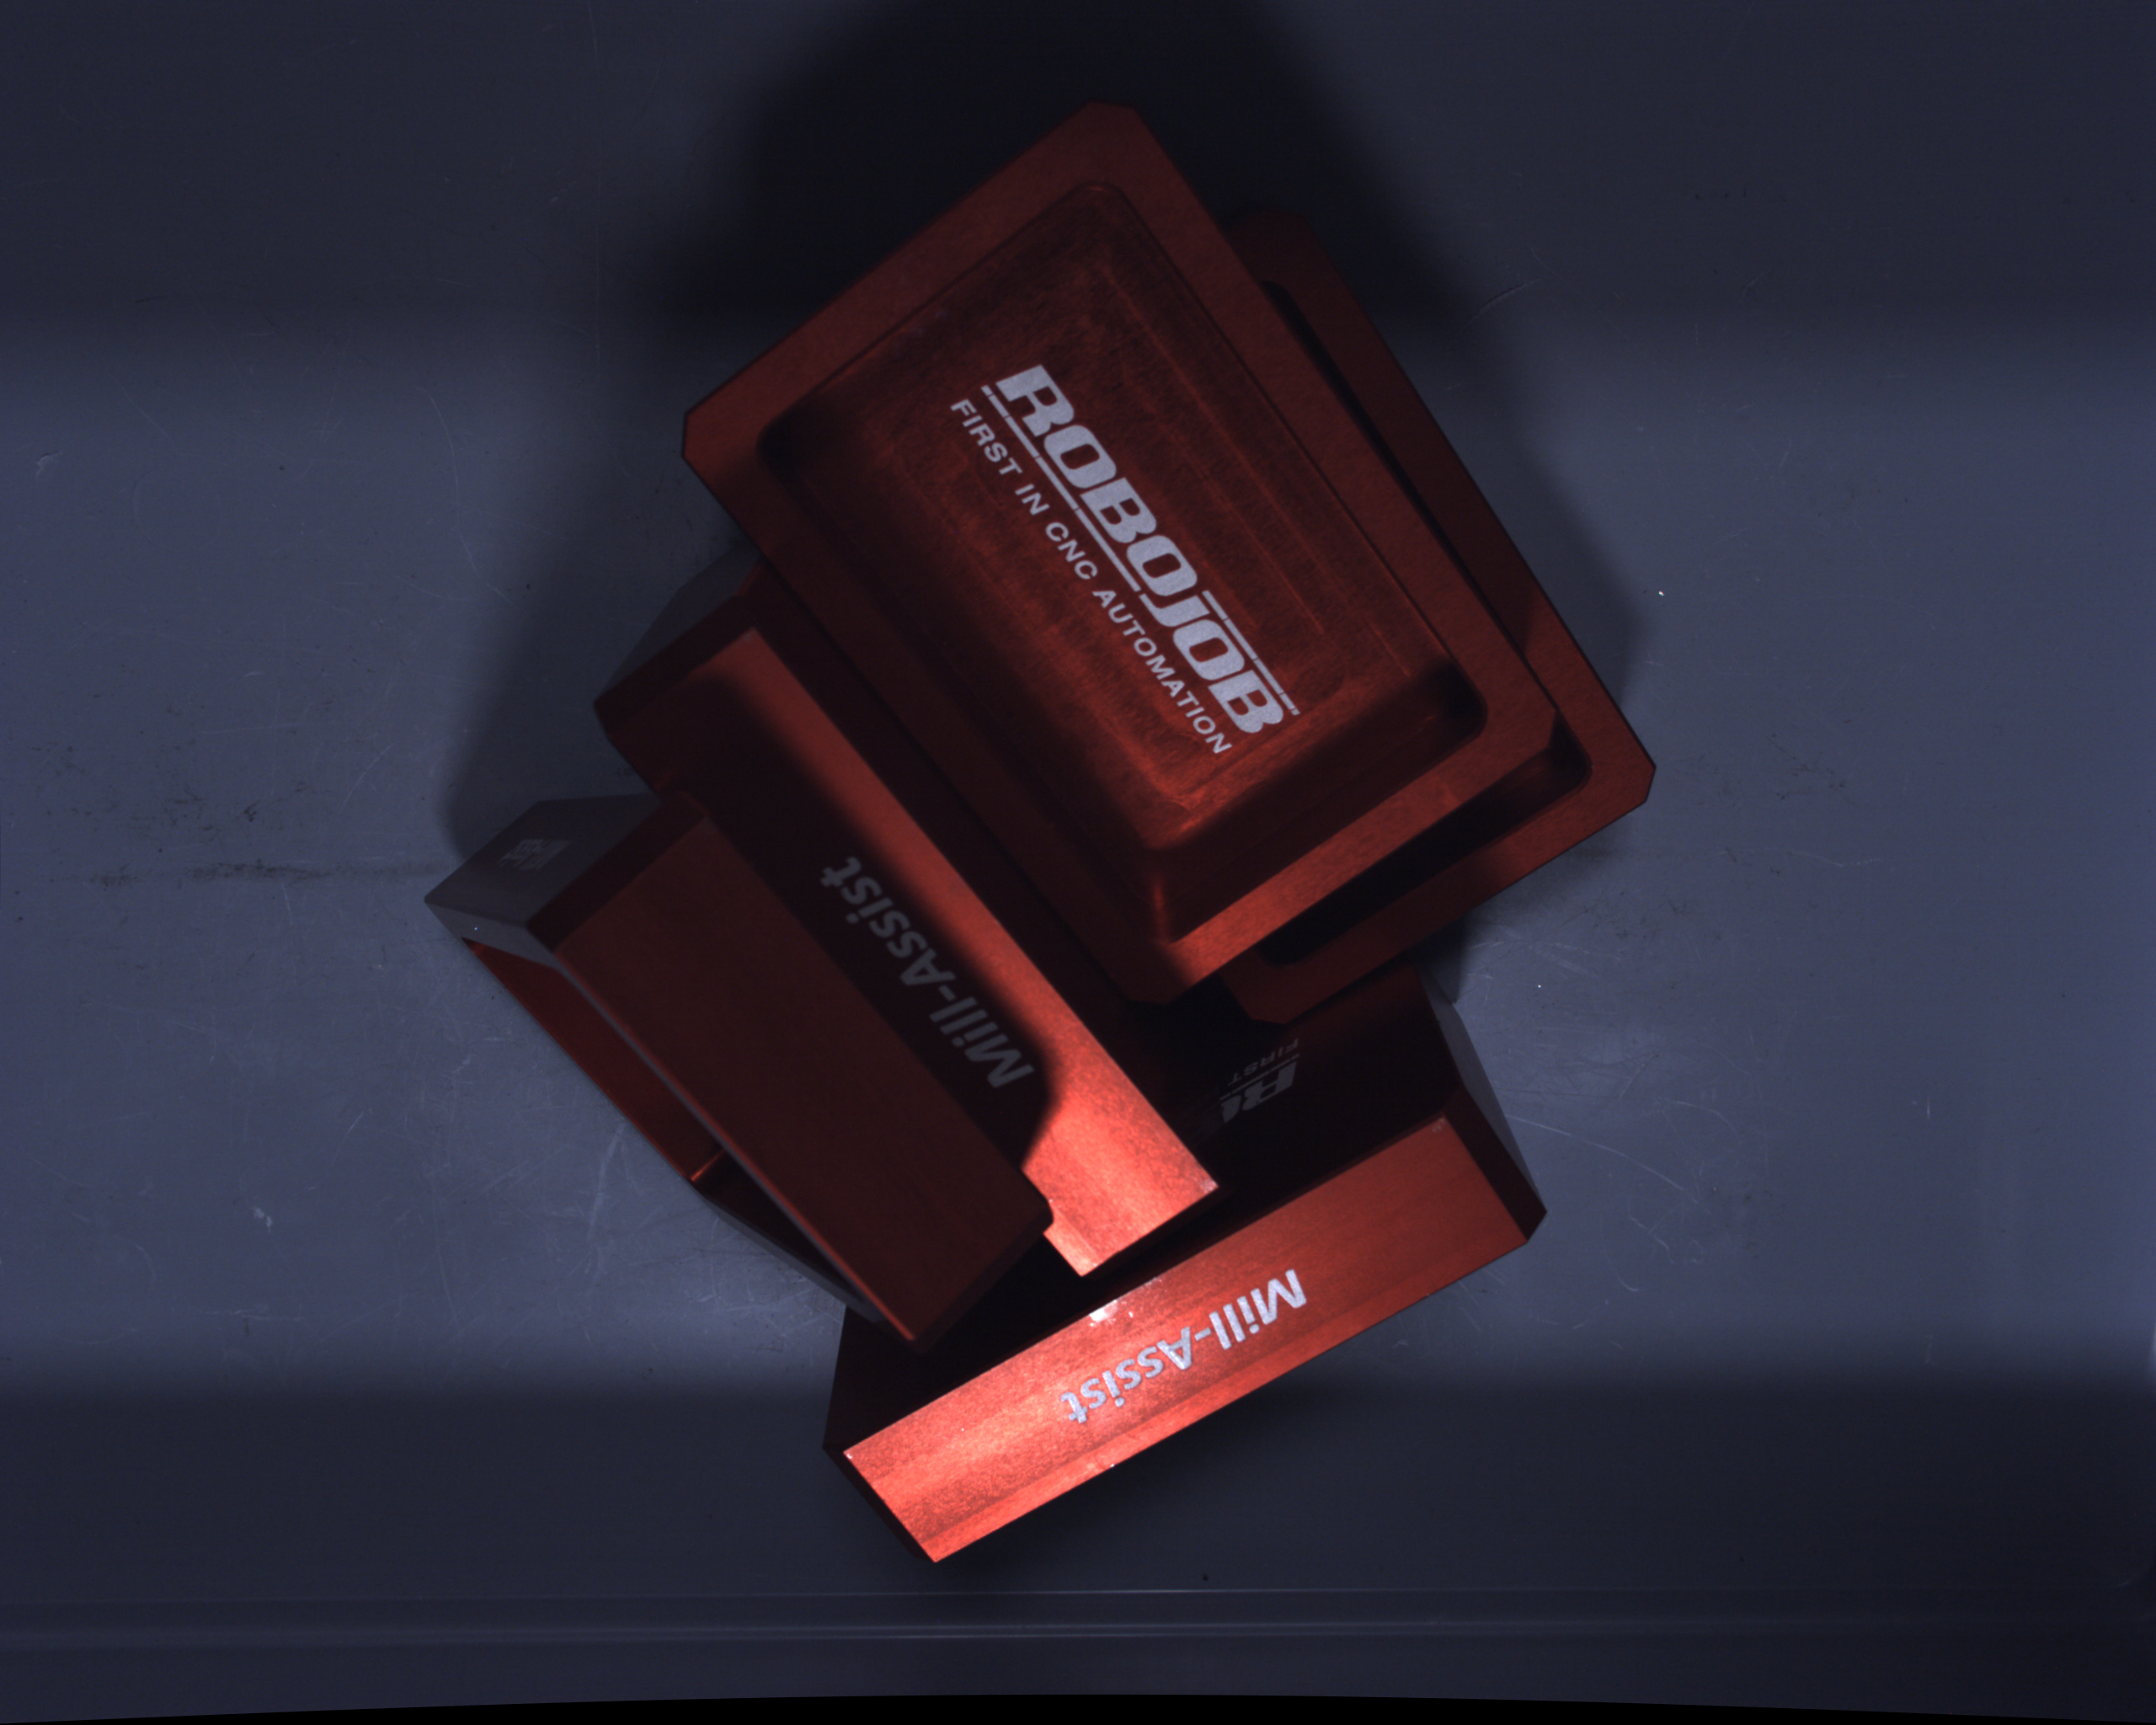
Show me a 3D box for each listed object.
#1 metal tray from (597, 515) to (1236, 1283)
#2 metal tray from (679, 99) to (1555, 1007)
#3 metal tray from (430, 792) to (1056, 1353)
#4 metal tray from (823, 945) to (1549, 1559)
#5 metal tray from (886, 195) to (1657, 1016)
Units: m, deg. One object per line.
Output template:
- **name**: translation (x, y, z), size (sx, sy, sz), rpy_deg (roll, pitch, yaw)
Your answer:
- **metal tray**: translation (-0.024, 0.002, 0.374), size (0.030, 0.090, 0.130), rpy_deg (-35, 107, 12)
- **metal tray**: translation (0.008, -0.050, 0.356), size (0.090, 0.030, 0.130), rpy_deg (-35, 106, 12)
- **metal tray**: translation (-0.065, 0.032, 0.366), size (0.030, 0.130, 0.090), rpy_deg (-44, 107, -17)
- **metal tray**: translation (0.017, 0.068, 0.400), size (0.130, 0.090, 0.030), rpy_deg (-31, 108, 10)
- **metal tray**: translation (0.036, -0.046, 0.392), size (0.090, 0.030, 0.130), rpy_deg (-32, 106, 12)
